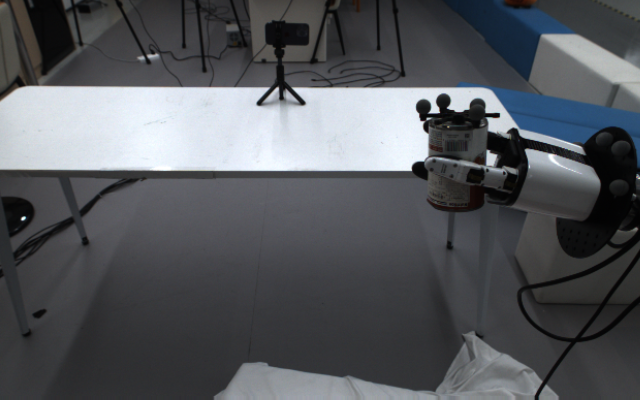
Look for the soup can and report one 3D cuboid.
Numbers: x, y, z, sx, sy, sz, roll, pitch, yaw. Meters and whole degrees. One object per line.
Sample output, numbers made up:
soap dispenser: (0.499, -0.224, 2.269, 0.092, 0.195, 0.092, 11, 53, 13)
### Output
soup can: (0.164, -0.046, 0.575, 0.067, 0.101, 0.067, -4, 21, 1)
